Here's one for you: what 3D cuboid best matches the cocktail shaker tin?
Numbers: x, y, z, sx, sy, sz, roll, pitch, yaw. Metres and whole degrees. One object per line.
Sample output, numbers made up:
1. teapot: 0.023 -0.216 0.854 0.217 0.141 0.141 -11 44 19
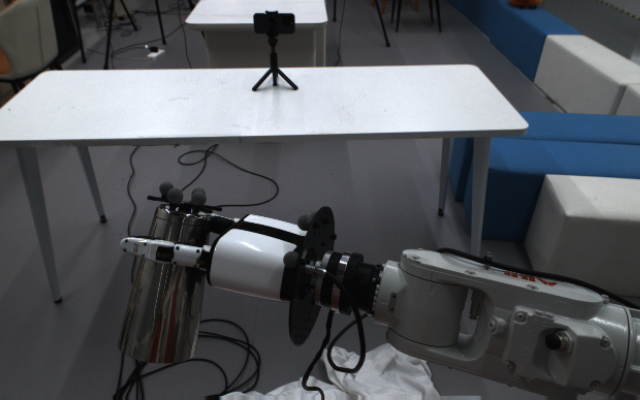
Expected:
1. cocktail shaker tin: -0.178 0.093 0.584 0.093 0.170 0.093 12 3 -1
